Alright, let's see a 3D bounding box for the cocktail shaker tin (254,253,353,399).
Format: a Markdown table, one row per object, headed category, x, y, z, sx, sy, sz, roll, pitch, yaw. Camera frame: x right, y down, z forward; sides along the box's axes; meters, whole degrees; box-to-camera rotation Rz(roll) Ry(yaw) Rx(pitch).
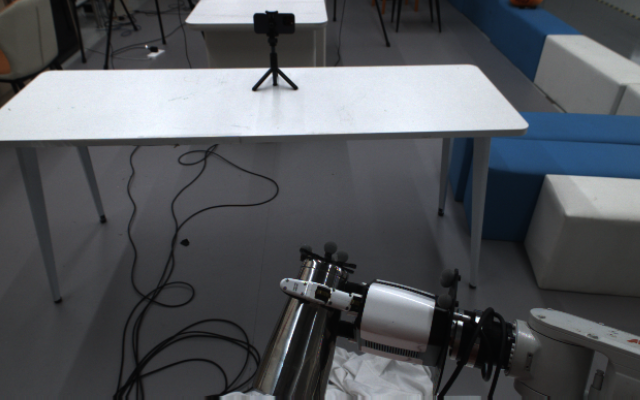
| category | x | y | z | sx | sy | sz | roll | pitch | yaw |
| --- | --- | --- | --- | --- | --- | --- | --- | --- | --- |
| cocktail shaker tin | -0.015 | 0.166 | 0.628 | 0.093 | 0.093 | 0.170 | 13 | 71 | 15 |
